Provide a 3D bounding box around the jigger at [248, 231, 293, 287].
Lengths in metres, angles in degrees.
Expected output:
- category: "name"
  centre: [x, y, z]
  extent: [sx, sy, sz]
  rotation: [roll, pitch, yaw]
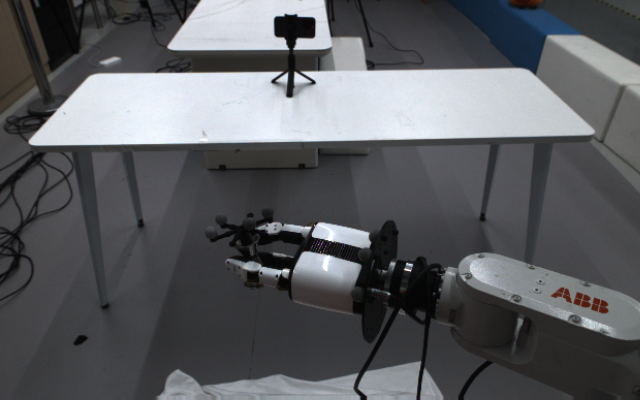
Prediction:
- category: "jigger"
  centre: [-0.094, 0.085, 0.683]
  extent: [0.043, 0.071, 0.043]
  rotation: [-11, 24, 5]
